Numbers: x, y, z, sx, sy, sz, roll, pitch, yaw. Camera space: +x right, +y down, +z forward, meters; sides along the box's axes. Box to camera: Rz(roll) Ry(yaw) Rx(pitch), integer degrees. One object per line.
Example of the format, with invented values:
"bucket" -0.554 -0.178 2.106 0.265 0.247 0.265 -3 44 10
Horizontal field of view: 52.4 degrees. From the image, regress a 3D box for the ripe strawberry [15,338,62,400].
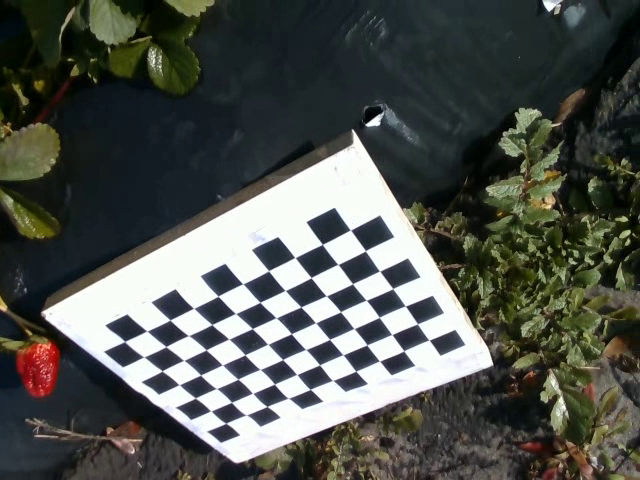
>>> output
"ripe strawberry" -0.089 0.037 0.194 0.015 0.023 0.015 -19 -11 11
